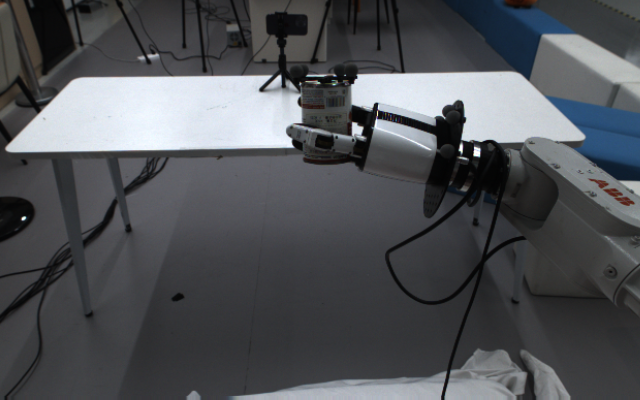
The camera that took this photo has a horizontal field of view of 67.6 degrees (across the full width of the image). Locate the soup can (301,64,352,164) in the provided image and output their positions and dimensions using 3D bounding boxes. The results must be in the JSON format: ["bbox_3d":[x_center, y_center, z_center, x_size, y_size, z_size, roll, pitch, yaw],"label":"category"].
[{"bbox_3d":[0.010,-0.103,0.635,0.067,0.101,0.067,-1,17,0],"label":"soup can"}]
